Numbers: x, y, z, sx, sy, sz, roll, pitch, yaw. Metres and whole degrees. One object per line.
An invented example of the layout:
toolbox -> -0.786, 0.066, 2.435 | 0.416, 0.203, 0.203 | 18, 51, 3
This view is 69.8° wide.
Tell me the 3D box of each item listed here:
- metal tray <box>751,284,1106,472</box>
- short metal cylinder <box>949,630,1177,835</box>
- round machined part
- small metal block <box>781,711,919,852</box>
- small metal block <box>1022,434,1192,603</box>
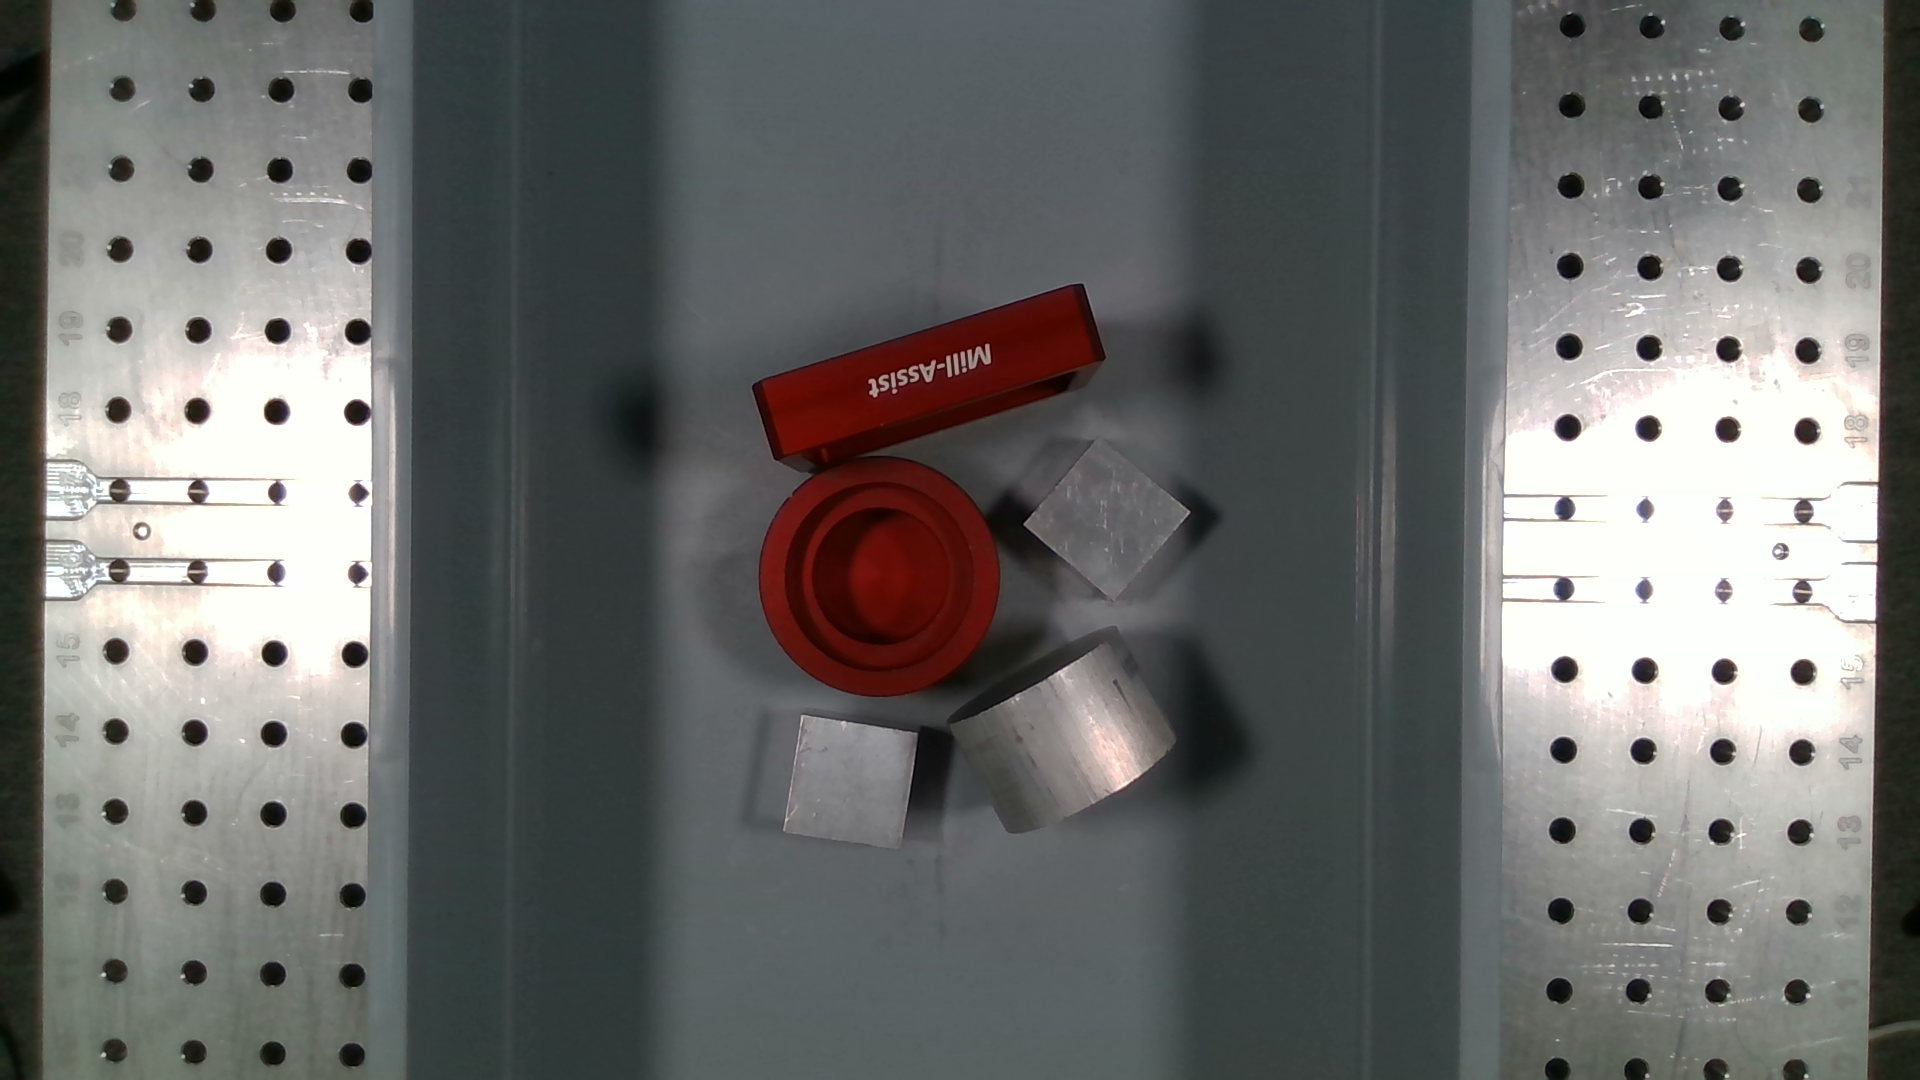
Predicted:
metal tray -> -0.012, -0.062, 0.552 | 0.130, 0.090, 0.030 | -17, 90, 0
short metal cylinder -> 0.041, 0.077, 0.559 | 0.080, 0.080, 0.050 | -29, 90, 0
round machined part -> -0.033, 0.015, 0.576 | 0.098, 0.042, 0.098 | 0, 90, 0
small metal block -> -0.046, 0.102, 0.587 | 0.050, 0.025, 0.050 | 9, 89, -1
small metal block -> 0.061, -0.009, 0.586 | 0.050, 0.025, 0.050 | 40, 89, 0
